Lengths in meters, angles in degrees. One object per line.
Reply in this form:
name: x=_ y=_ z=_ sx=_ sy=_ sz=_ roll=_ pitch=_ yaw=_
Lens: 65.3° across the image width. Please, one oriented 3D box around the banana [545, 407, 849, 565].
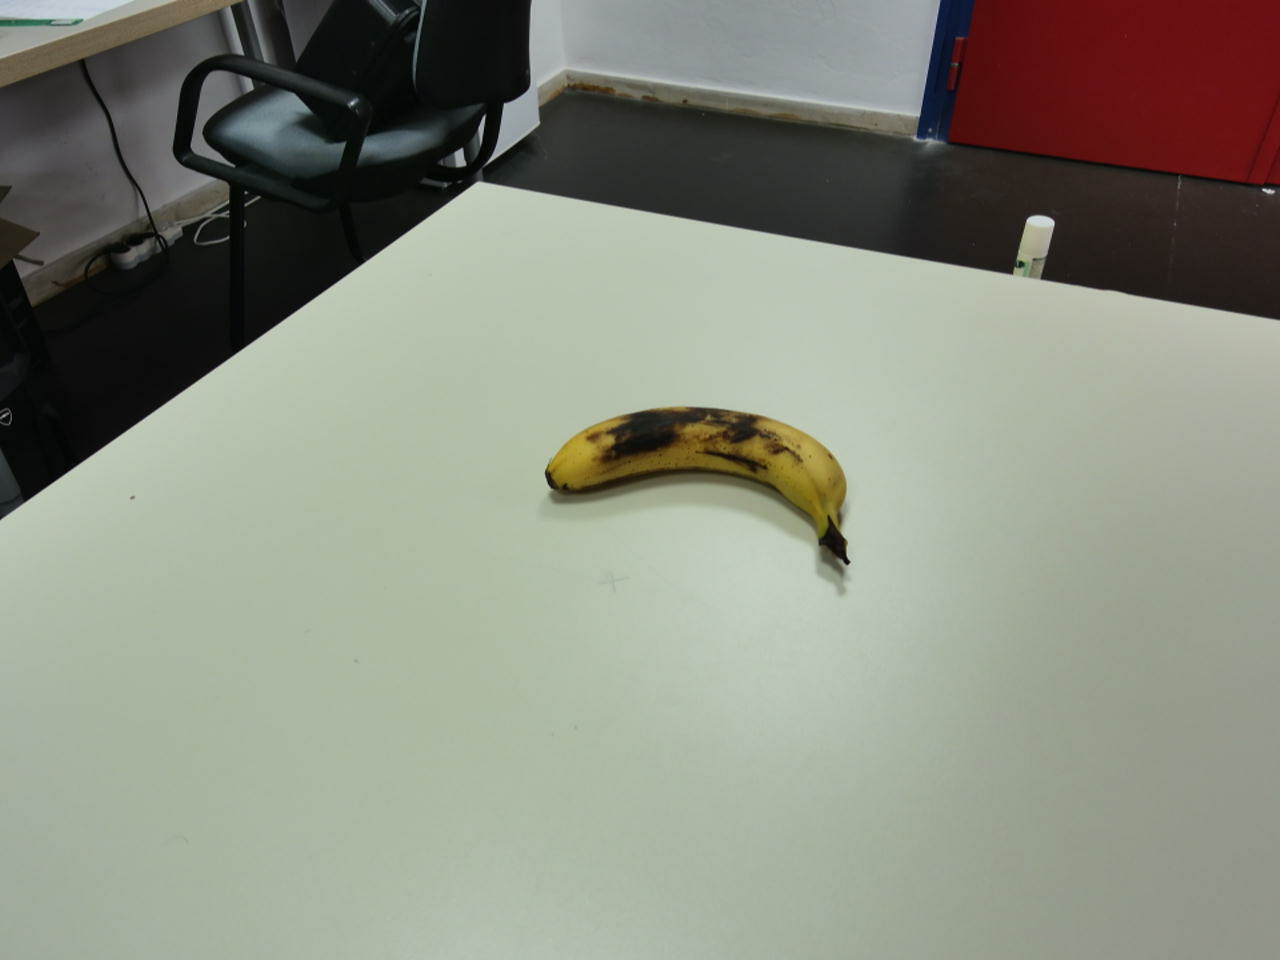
banana: x=0.042 y=-0.009 z=0.599 sx=0.187 sy=0.039 sz=0.094 roll=15 pitch=41 yaw=18
